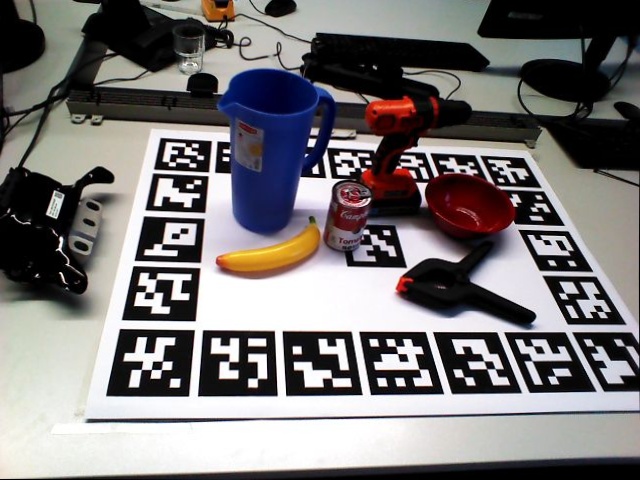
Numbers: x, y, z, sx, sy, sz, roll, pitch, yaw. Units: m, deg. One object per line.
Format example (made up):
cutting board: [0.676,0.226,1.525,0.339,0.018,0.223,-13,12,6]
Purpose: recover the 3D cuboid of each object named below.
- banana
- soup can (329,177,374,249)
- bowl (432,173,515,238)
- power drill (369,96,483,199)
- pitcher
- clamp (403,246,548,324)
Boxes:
banana: [-0.068,0.012,0.811,0.196,0.039,0.074,-18,43,-27]
soup can: [0.054,-0.045,0.840,0.068,0.102,0.067,4,37,-4]
bowl: [0.271,-0.055,0.917,0.162,0.055,0.160,4,47,-5]
power drill: [0.168,-0.156,0.880,0.184,0.188,0.057,-2,47,-13]
pitcher: [-0.063,-0.140,0.814,0.188,0.244,0.133,-18,49,-25]
clamp: [0.228,0.060,0.802,0.203,0.037,0.164,-1,50,-11]
